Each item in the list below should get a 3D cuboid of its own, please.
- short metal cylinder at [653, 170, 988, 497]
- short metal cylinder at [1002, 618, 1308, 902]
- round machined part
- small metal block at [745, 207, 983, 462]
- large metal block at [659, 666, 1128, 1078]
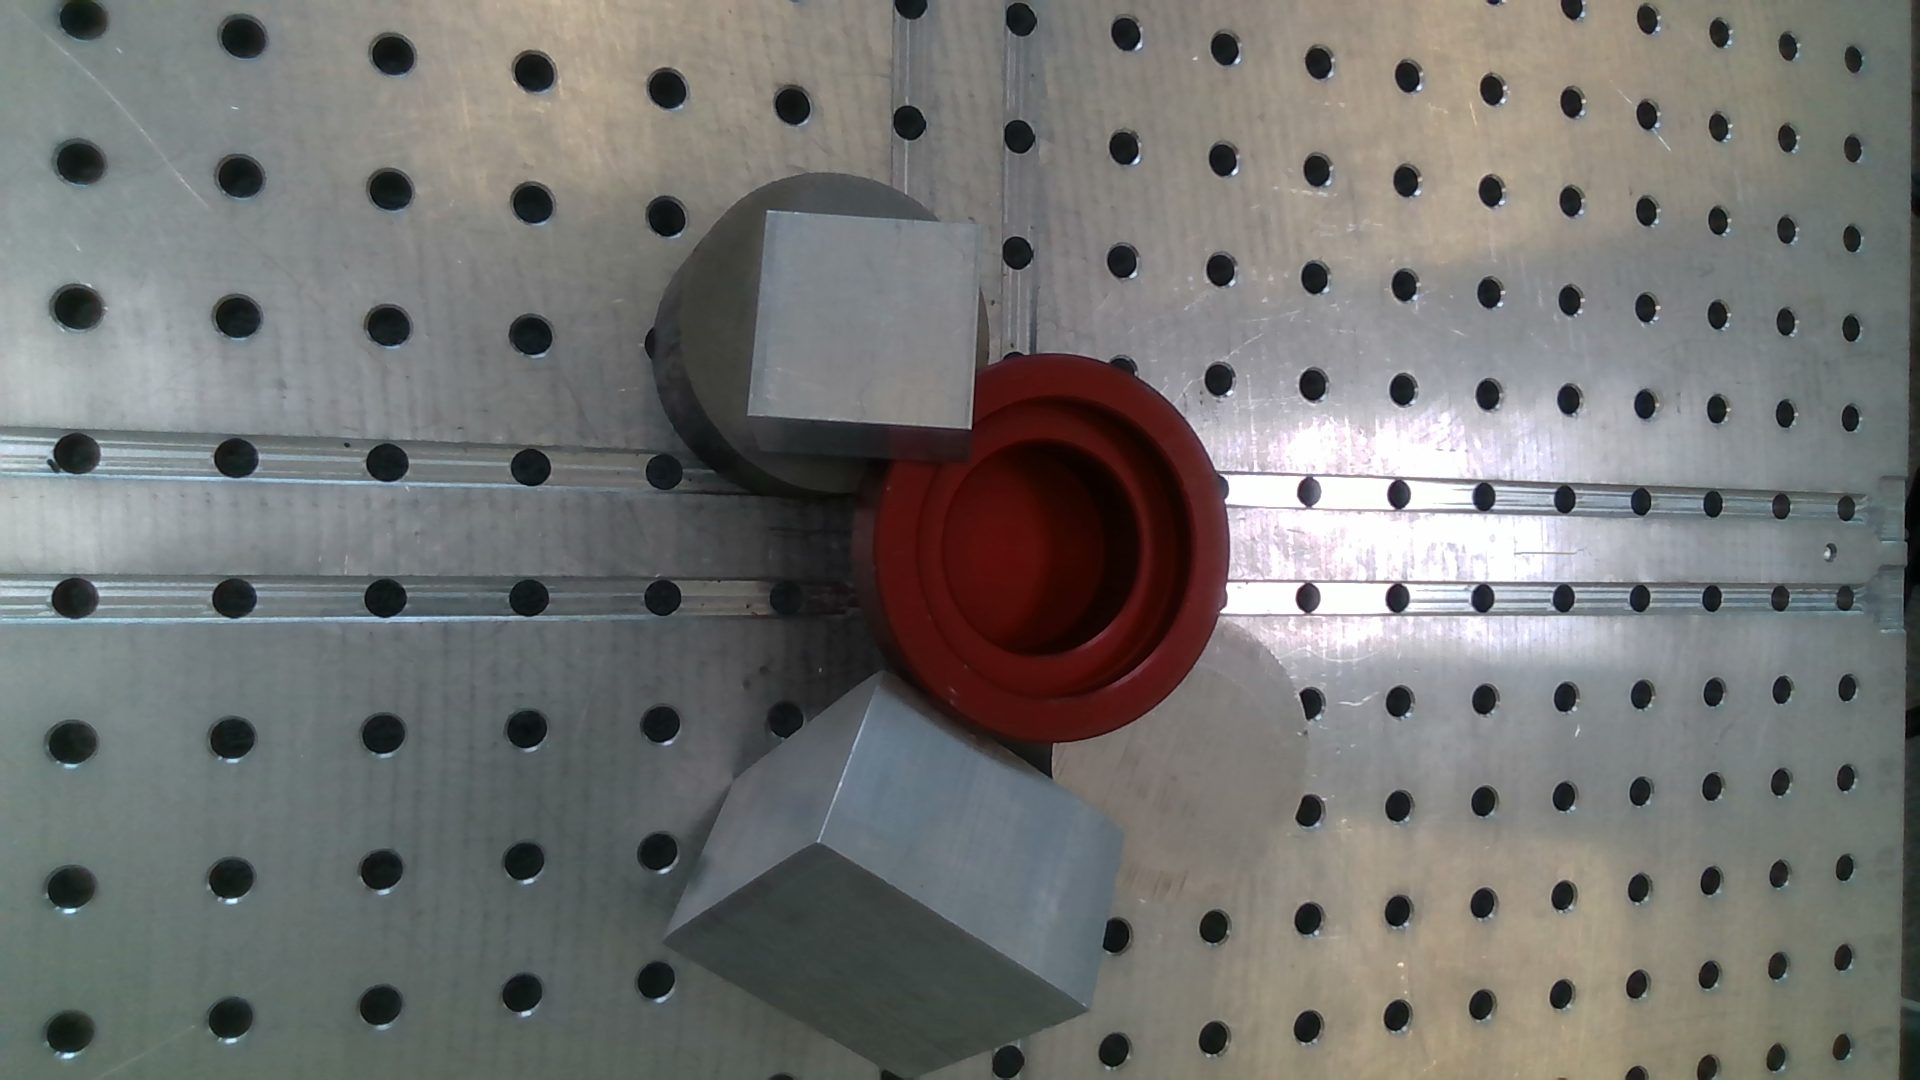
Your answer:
[{"bbox_3d":[-0.039,-0.052,0.369,0.080,0.050,0.080,0,90,-20],"label":"short metal cylinder"},{"bbox_3d":[0.053,0.060,0.403,0.080,0.050,0.080,0,90,-20],"label":"short metal cylinder"},{"bbox_3d":[0.018,0.002,0.363,0.098,0.042,0.098,0,90,-20],"label":"round machined part"},{"bbox_3d":[-0.021,-0.047,0.322,0.050,0.025,0.050,4,76,-1],"label":"small metal block"},{"bbox_3d":[-0.017,0.089,0.354,0.080,0.080,0.050,36,44,-17],"label":"large metal block"}]
